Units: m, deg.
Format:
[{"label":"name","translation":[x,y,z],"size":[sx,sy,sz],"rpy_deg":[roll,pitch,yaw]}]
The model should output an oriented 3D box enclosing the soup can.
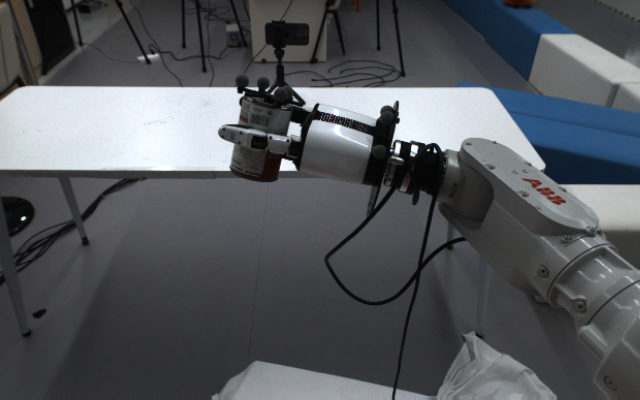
[{"label":"soup can","translation":[-0.078,-0.081,0.643],"size":[0.067,0.101,0.067],"rpy_deg":[13,18,-4]}]
